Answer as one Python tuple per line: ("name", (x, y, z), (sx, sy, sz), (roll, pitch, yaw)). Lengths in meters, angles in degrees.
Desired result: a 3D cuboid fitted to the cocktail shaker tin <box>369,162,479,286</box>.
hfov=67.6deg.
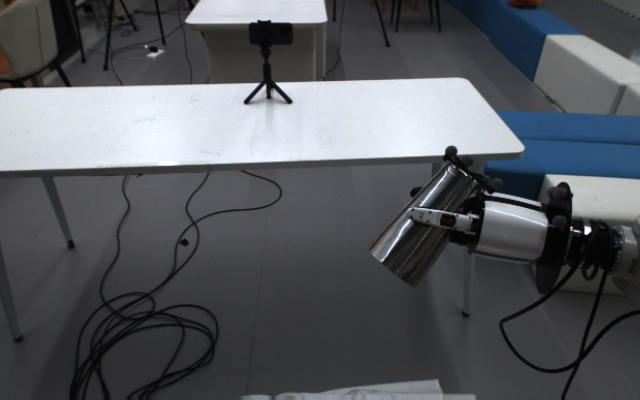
("cocktail shaker tin", (0.158, 0.030, 0.707), (0.170, 0.093, 0.093), (-50, 46, 4))
